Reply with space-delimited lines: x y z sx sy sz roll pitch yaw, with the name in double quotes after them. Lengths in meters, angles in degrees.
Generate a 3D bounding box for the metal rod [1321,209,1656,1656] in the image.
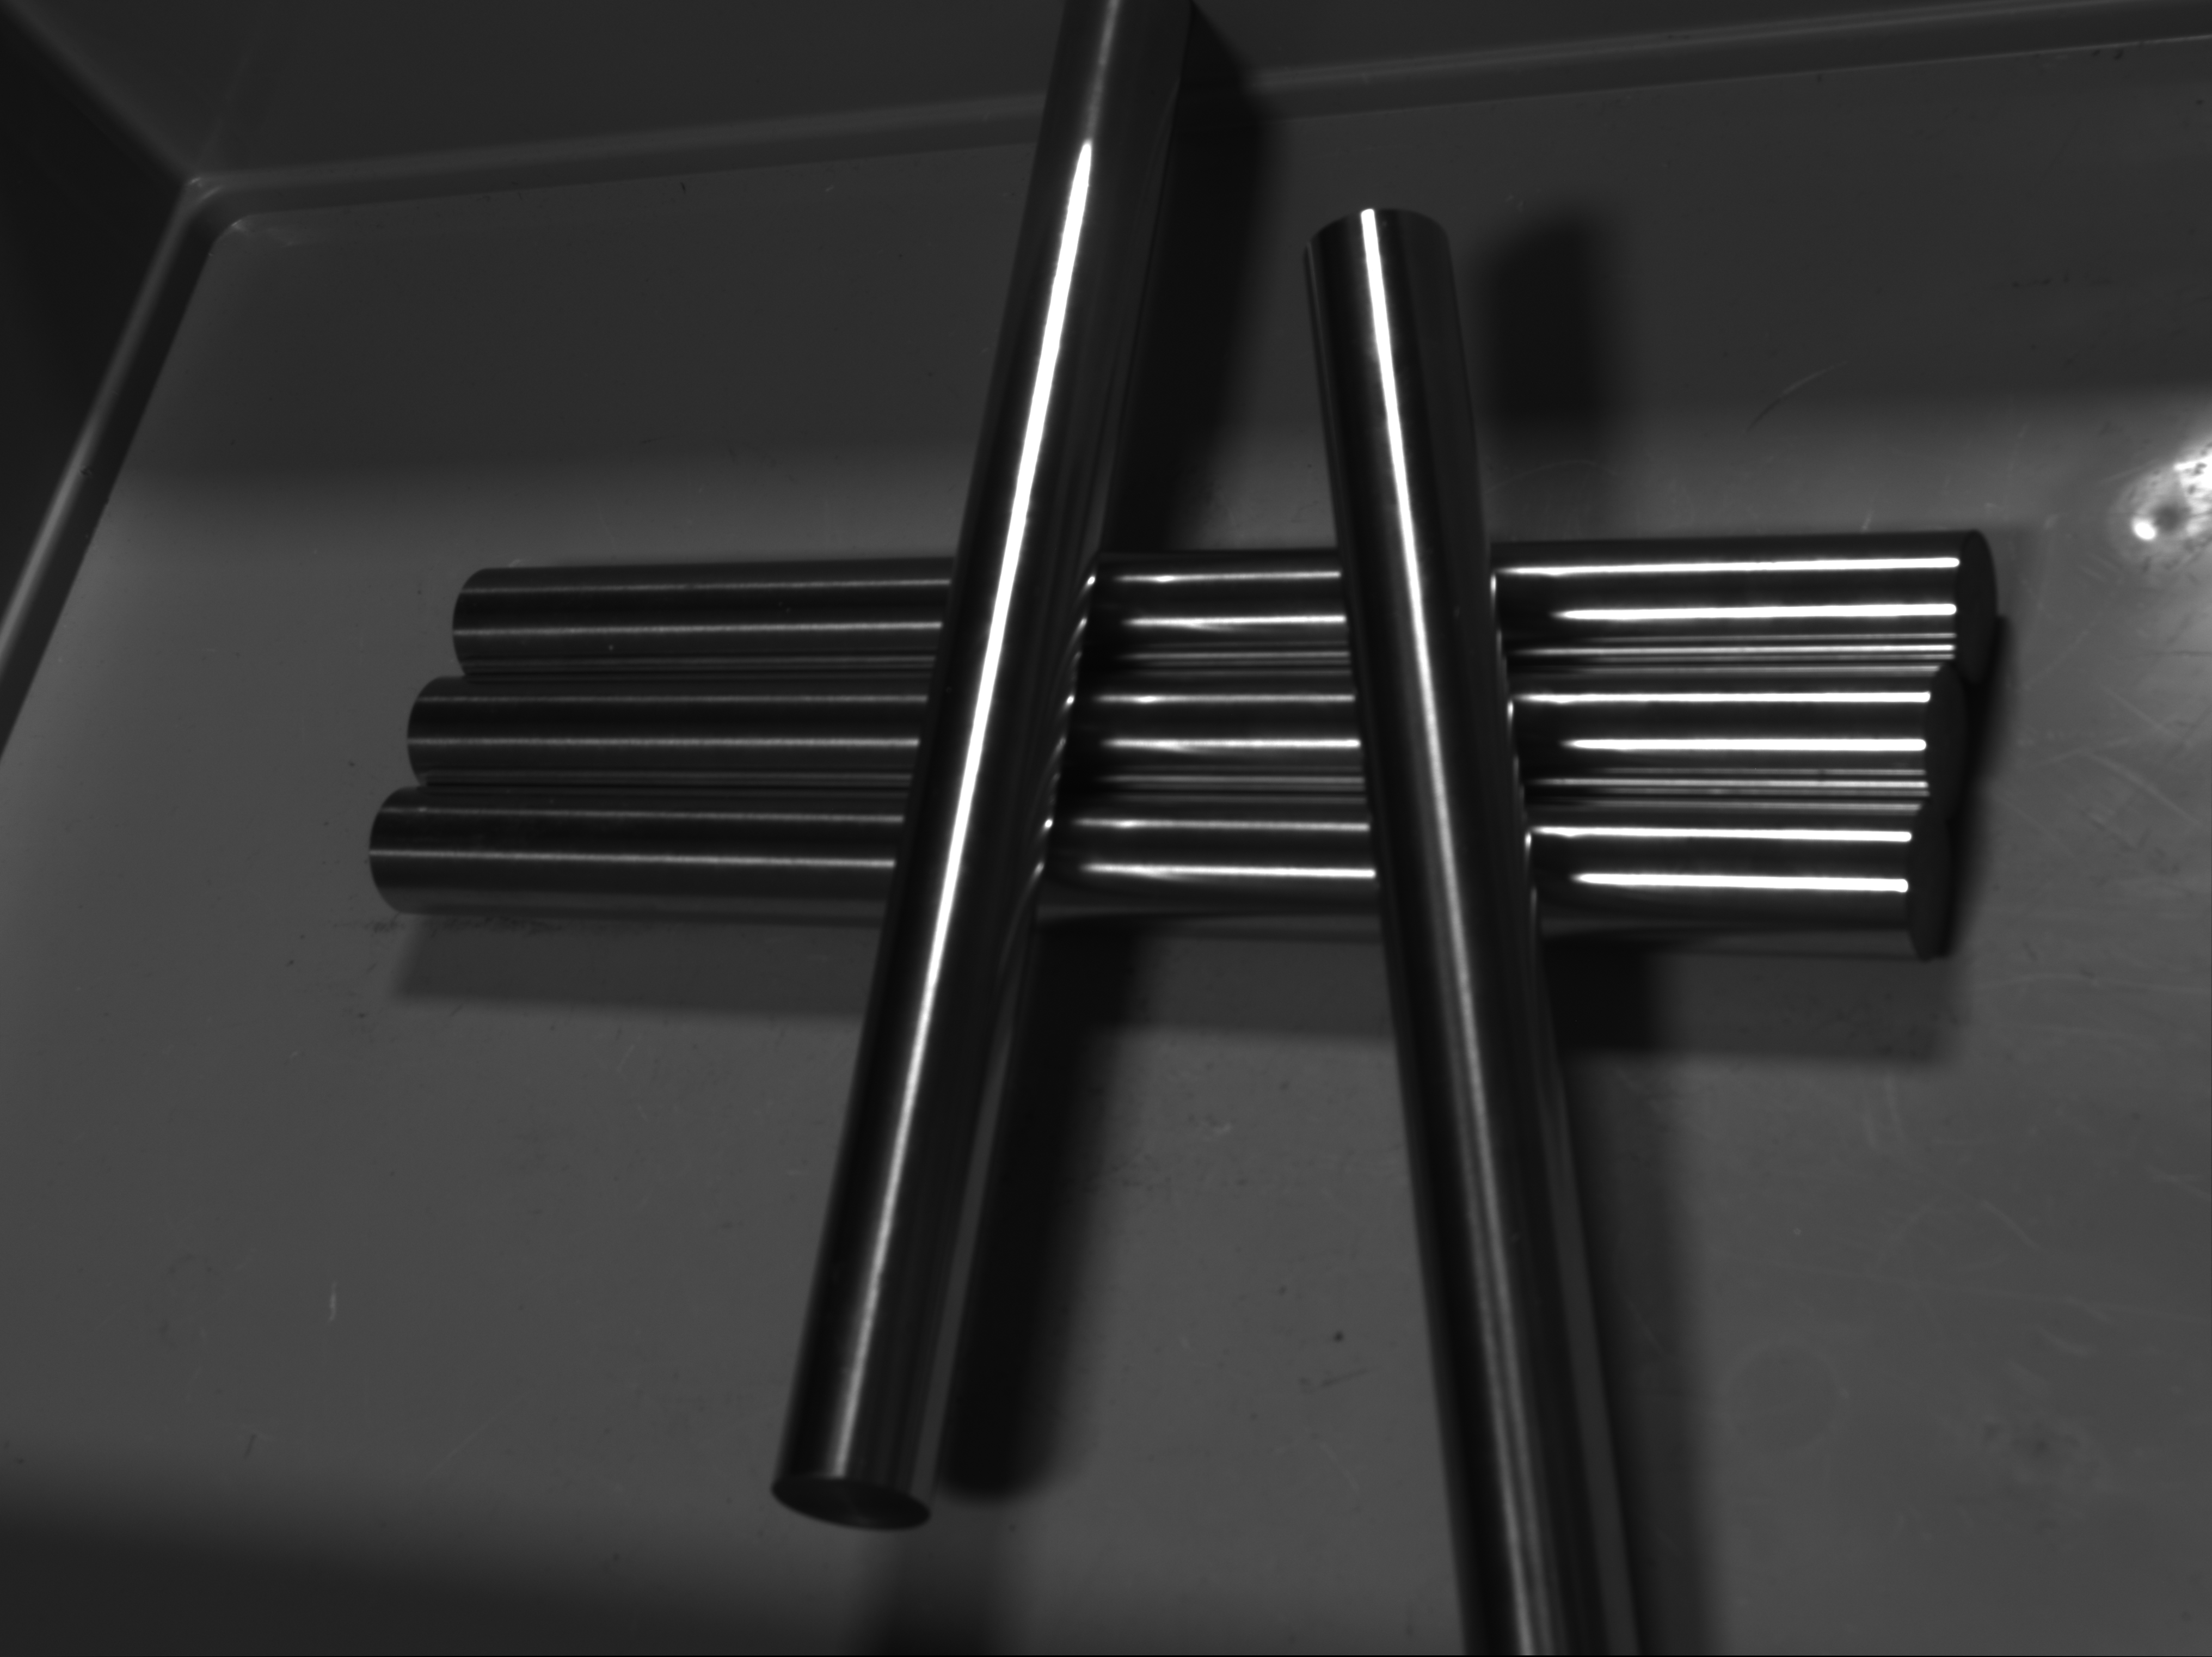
0.060 0.035 0.563 0.025 0.025 0.300 -15 62 20 "metal rod"

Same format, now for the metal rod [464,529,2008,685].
0.011 -0.037 0.661 0.299 0.025 0.025 1 62 29 "metal rod"

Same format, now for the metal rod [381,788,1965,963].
-0.001 0.006 0.640 0.299 0.025 0.025 1 62 29 "metal rod"

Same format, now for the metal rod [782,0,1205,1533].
-0.016 -0.026 0.635 0.025 0.025 0.300 -5 59 26 "metal rod"

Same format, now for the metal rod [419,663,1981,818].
0.004 -0.016 0.651 0.299 0.025 0.025 1 62 29 "metal rod"
